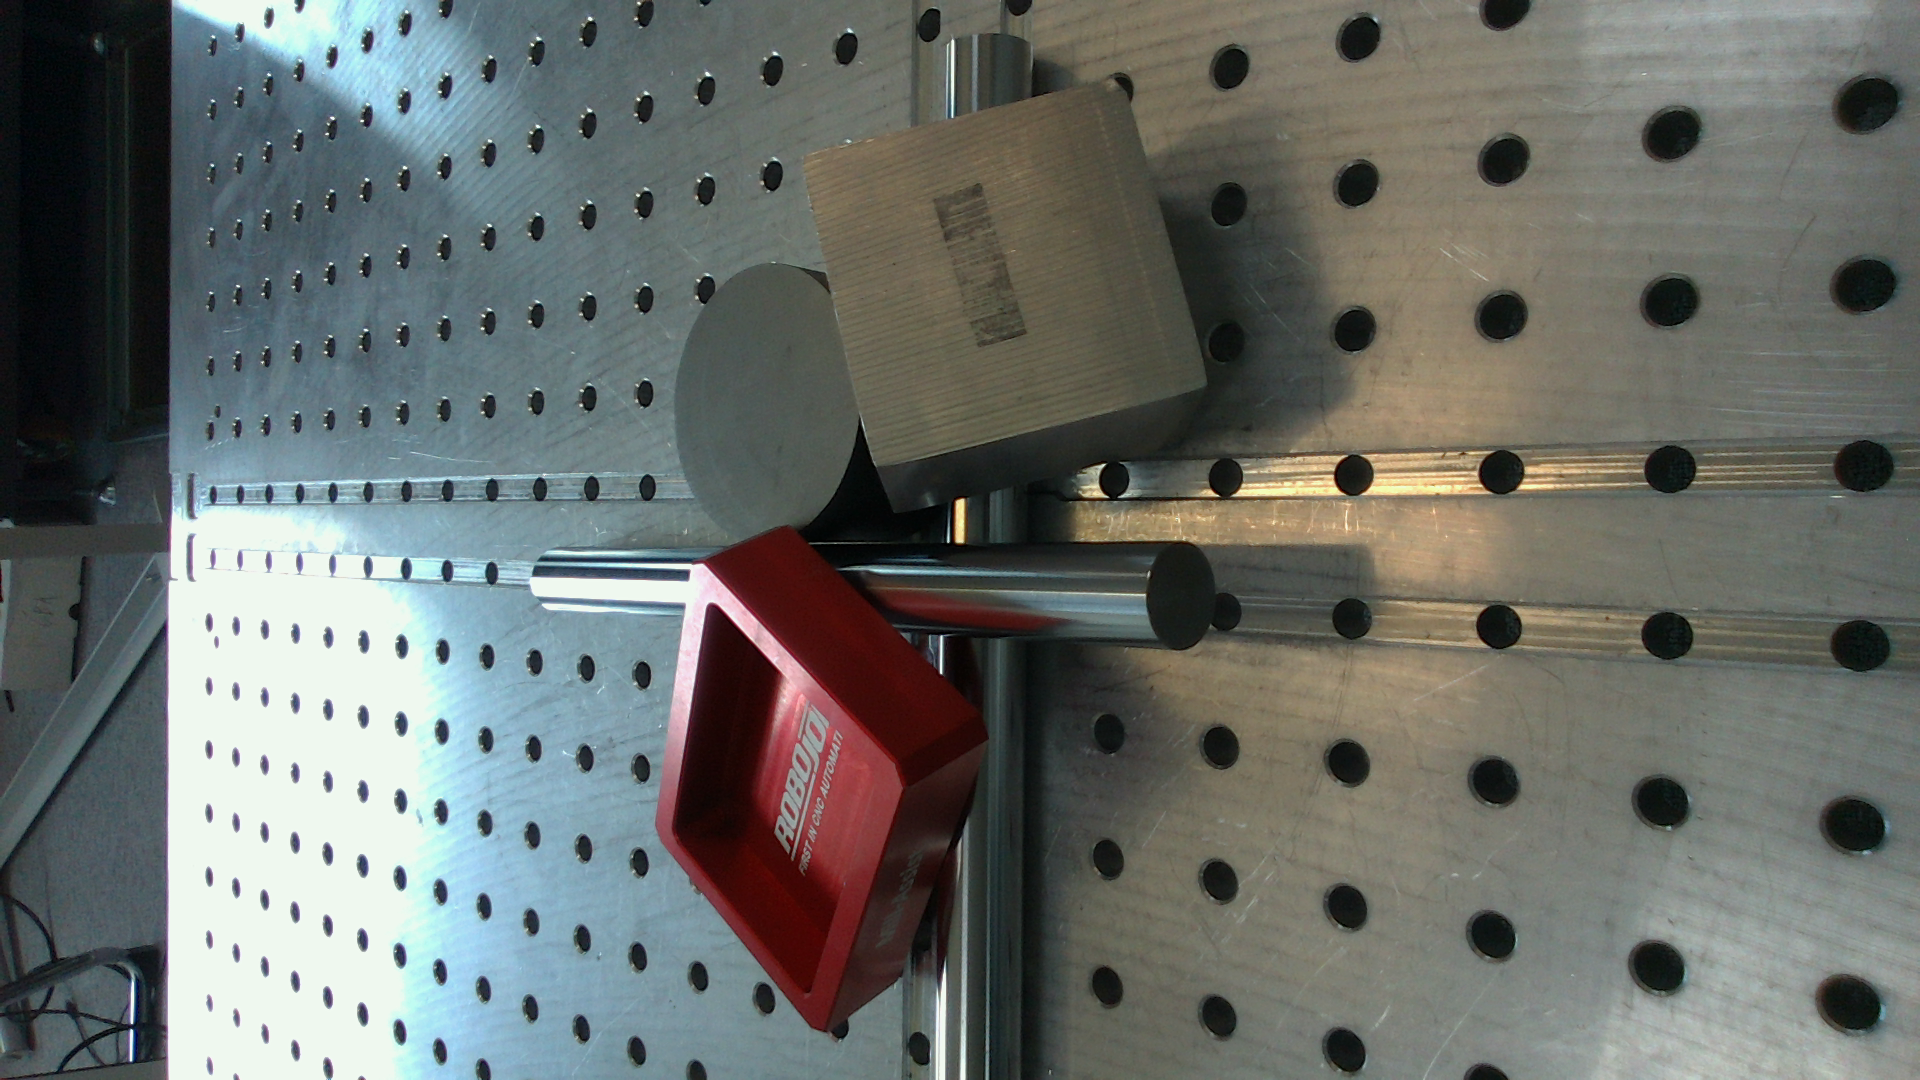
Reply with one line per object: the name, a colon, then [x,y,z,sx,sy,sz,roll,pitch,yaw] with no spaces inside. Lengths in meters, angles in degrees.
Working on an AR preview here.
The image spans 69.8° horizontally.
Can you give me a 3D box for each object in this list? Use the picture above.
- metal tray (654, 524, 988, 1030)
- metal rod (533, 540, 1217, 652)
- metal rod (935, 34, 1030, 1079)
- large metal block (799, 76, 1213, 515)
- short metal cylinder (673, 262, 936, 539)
metal tray: [-0.046,0.071,0.400,0.090,0.030,0.130,42,137,26]
metal rod: [-0.051,0.014,0.419,0.299,0.025,0.025,-1,90,47]
metal rod: [0.006,0.011,0.392,0.025,0.025,0.300,1,91,40]
large metal block: [0.011,-0.059,0.346,0.080,0.050,0.080,-14,79,-1]
short metal cylinder: [-0.041,-0.040,0.416,0.080,0.050,0.080,0,90,40]
